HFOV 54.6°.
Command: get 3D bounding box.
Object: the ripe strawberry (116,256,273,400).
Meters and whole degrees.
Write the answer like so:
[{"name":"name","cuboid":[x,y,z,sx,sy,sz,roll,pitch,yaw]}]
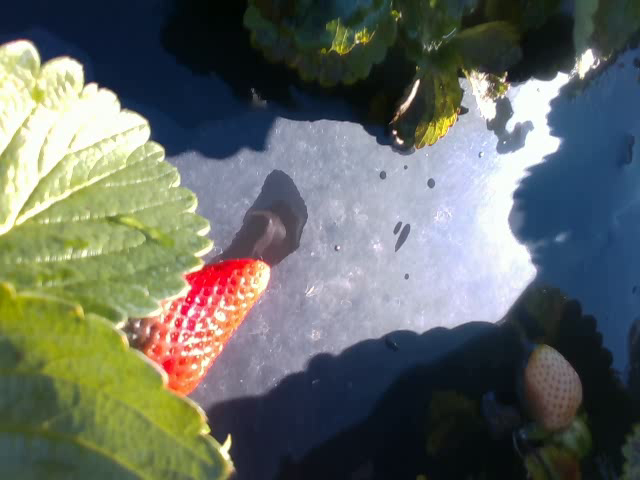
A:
[{"name":"ripe strawberry","cuboid":[-0.041,0.022,0.190,0.064,0.050,0.052,-35,52,-14]}]
